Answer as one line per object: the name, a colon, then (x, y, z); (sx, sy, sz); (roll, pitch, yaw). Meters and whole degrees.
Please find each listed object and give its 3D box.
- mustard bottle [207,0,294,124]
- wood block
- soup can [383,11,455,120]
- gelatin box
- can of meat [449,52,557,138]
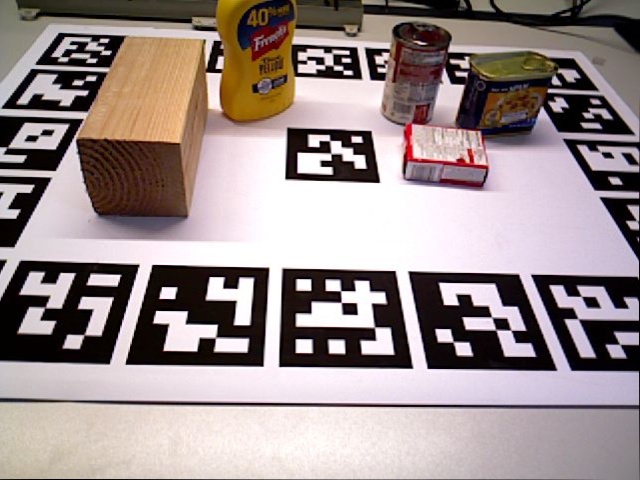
mustard bottle: (-0.076, -0.228, 0.599); (0.094, 0.196, 0.058); (-16, 48, -23)
wood block: (-0.174, -0.125, 0.554); (0.090, 0.092, 0.203); (3, 40, -4)
soup can: (0.114, -0.203, 0.636); (0.067, 0.104, 0.067); (2, 46, -3)
gelatin box: (0.135, -0.092, 0.584); (0.089, 0.031, 0.072); (7, 46, 6)
can of meat: (0.210, -0.170, 0.638); (0.100, 0.086, 0.057); (-6, 46, -15)
